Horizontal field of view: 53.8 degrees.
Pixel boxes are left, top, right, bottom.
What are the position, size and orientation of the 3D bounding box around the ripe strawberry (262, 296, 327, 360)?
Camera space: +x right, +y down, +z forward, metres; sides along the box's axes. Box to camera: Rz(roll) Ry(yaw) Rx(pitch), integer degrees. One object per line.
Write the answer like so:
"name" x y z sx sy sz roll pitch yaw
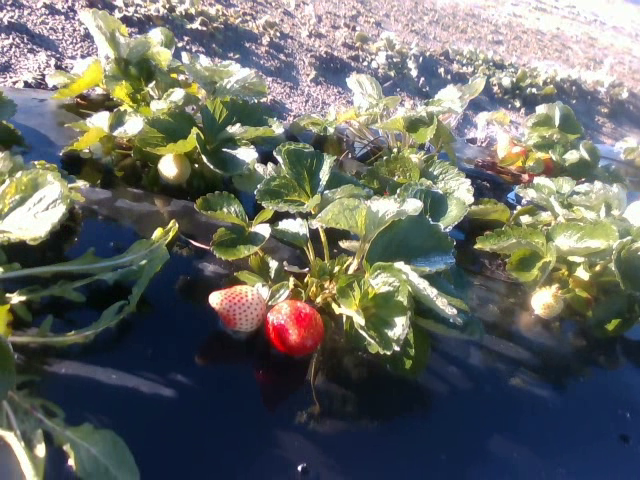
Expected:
"ripe strawberry" -0.014 0.052 0.366 0.040 0.038 0.056 -15 -10 -2
